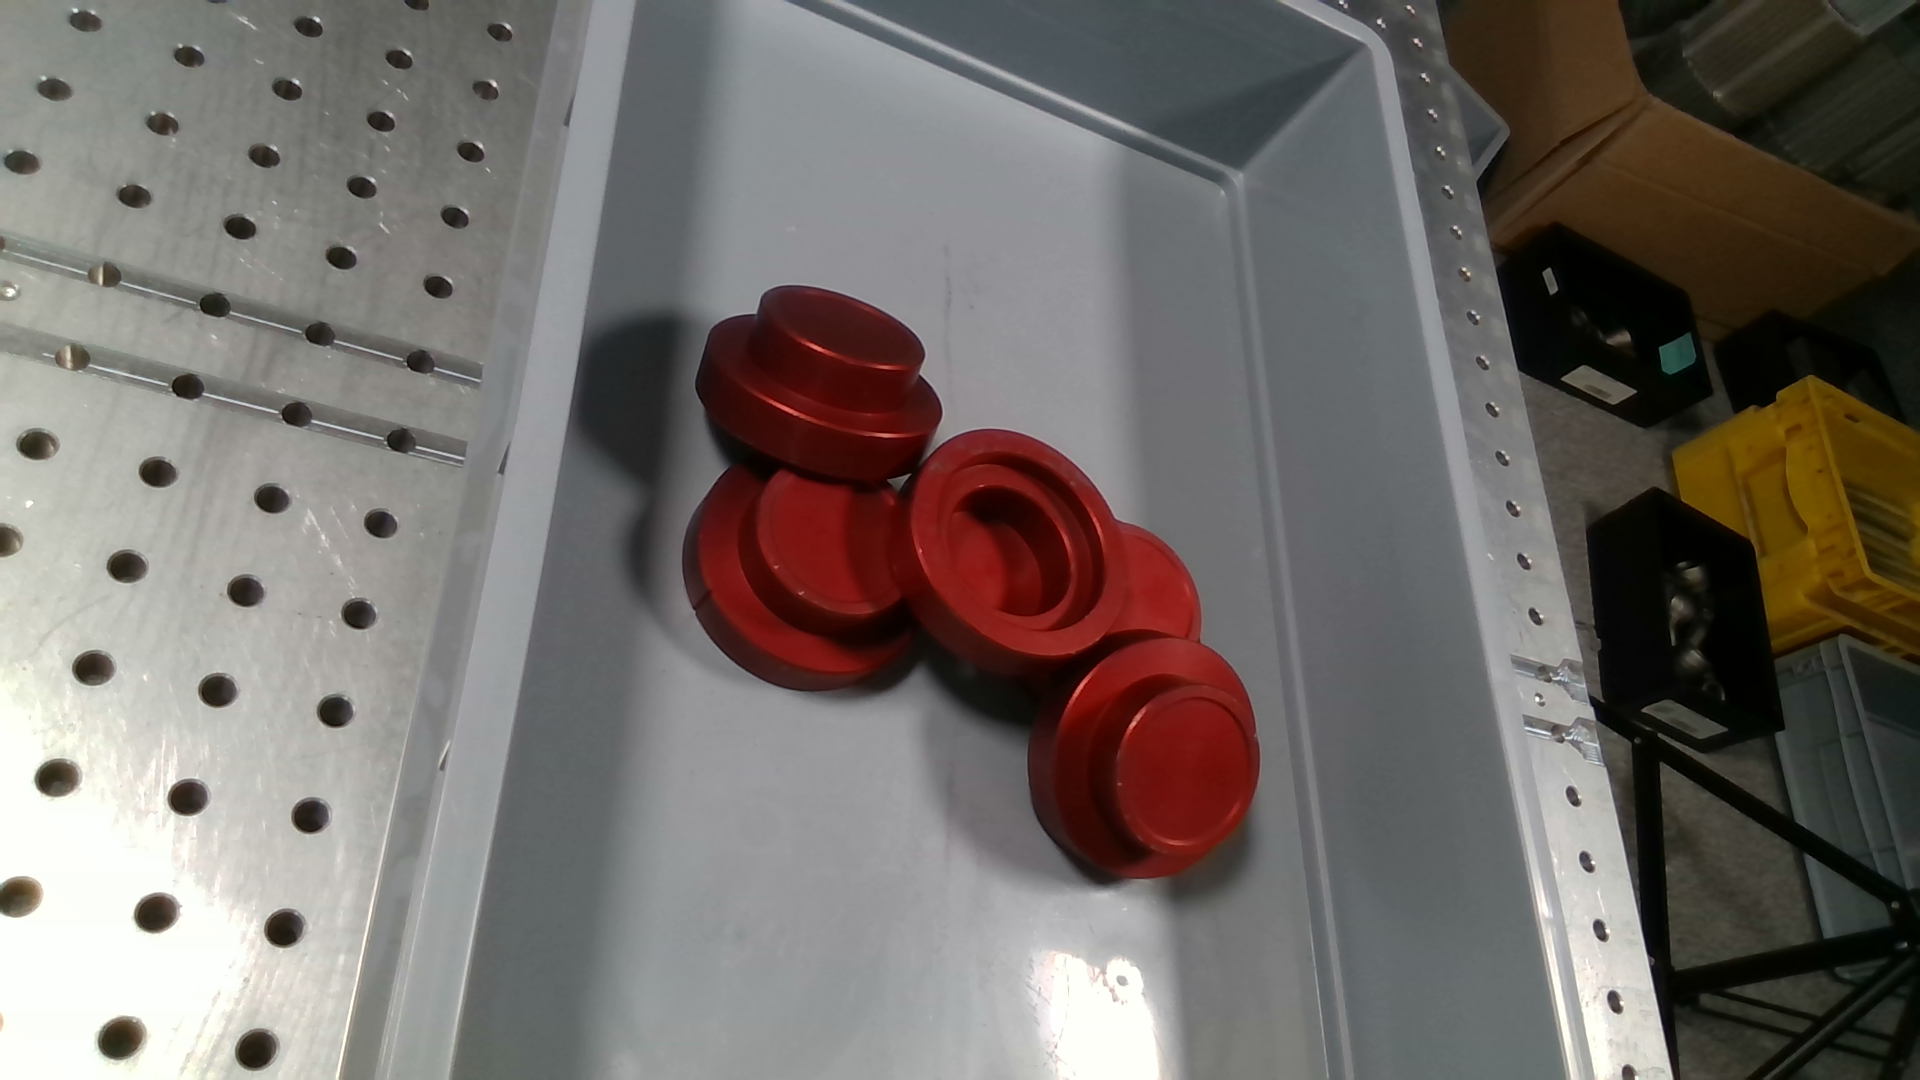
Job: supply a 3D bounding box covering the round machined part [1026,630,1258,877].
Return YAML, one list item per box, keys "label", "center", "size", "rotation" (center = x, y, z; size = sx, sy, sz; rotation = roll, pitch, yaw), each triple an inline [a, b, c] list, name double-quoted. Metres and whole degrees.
- label: "round machined part"
  center: [0.079, 0.087, 0.548]
  size: [0.098, 0.042, 0.098]
  rotation: [-3, 97, -27]

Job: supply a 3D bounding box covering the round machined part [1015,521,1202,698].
- label: "round machined part"
  center: [0.065, 0.031, 0.597]
  size: [0.098, 0.042, 0.098]
  rotation: [14, 59, -25]

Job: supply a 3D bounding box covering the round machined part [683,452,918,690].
- label: "round machined part"
  center: [-0.055, 0.005, 0.537]
  size: [0.098, 0.042, 0.098]
  rotation: [14, 59, -25]

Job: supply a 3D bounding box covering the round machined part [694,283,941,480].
- label: "round machined part"
  center: [-0.053, -0.068, 0.550]
  size: [0.098, 0.042, 0.098]
  rotation: [19, 28, -10]

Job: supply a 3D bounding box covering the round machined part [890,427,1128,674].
- label: "round machined part"
  center: [0.015, 0.008, 0.550]
  size: [0.098, 0.042, 0.098]
  rotation: [14, 59, -25]
